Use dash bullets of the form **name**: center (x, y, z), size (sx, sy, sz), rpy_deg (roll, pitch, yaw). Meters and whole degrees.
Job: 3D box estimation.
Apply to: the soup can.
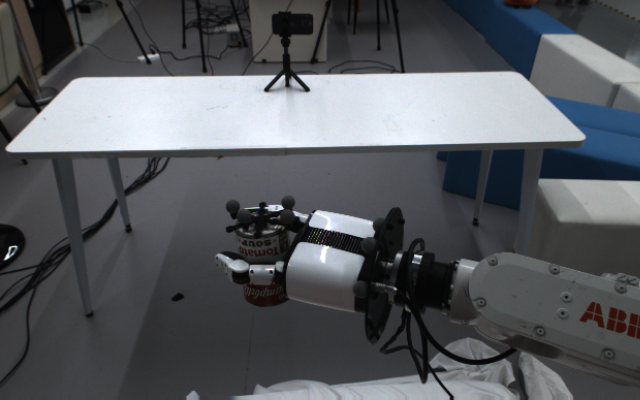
- **soup can**: center (-0.067, 0.074, 0.609), size (0.067, 0.101, 0.067), rpy_deg (-3, 26, 2)
